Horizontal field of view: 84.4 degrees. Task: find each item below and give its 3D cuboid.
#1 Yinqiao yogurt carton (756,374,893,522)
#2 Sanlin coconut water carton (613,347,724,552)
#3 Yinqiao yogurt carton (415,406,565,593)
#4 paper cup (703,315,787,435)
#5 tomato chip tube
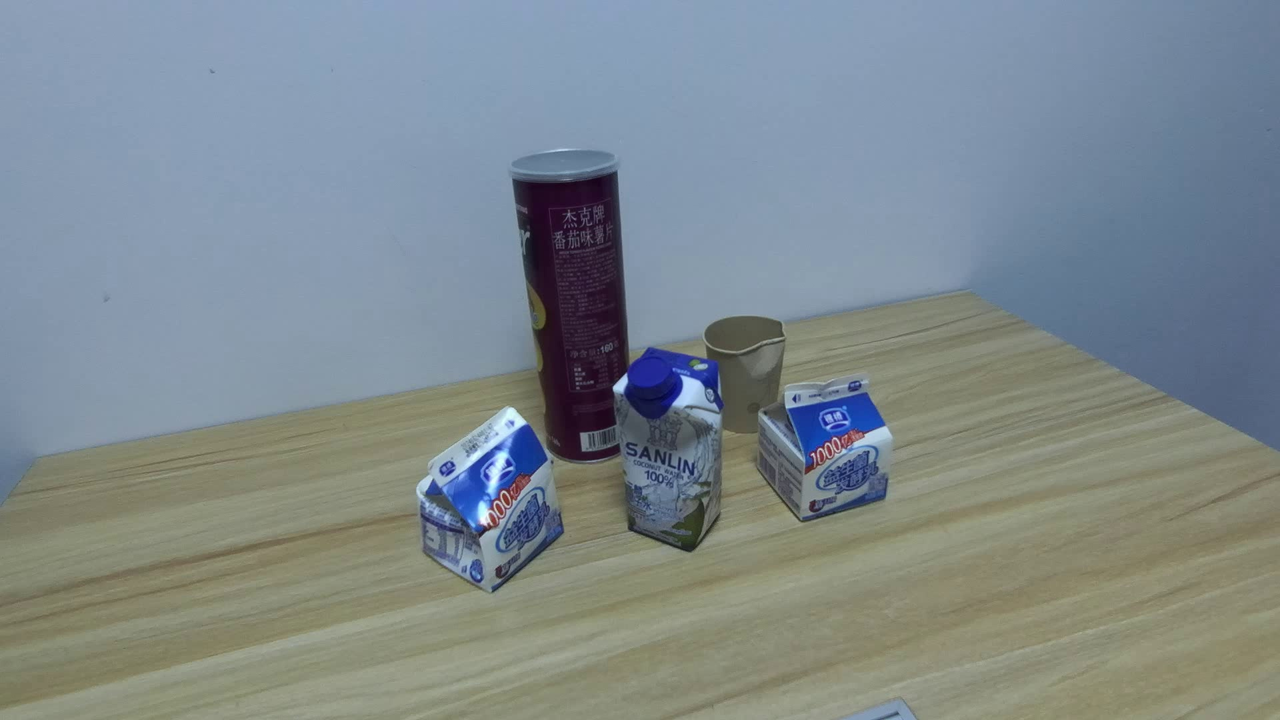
[{"bbox_3d":[0.135,0.053,0.517,0.076,0.092,0.073,-10,28,-17],"label":"Yinqiao yogurt carton"},{"bbox_3d":[0.019,0.055,0.472,0.077,0.142,0.058,13,37,28],"label":"Sanlin coconut water carton"},{"bbox_3d":[-0.103,0.085,0.481,0.077,0.093,0.083,17,34,34],"label":"Yinqiao yogurt carton"},{"bbox_3d":[0.087,0.014,0.599,0.069,0.081,0.073,-1,26,6],"label":"paper cup"},{"bbox_3d":[-0.046,-0.036,0.552,0.078,0.234,0.078,-2,27,2],"label":"tomato chip tube"}]
